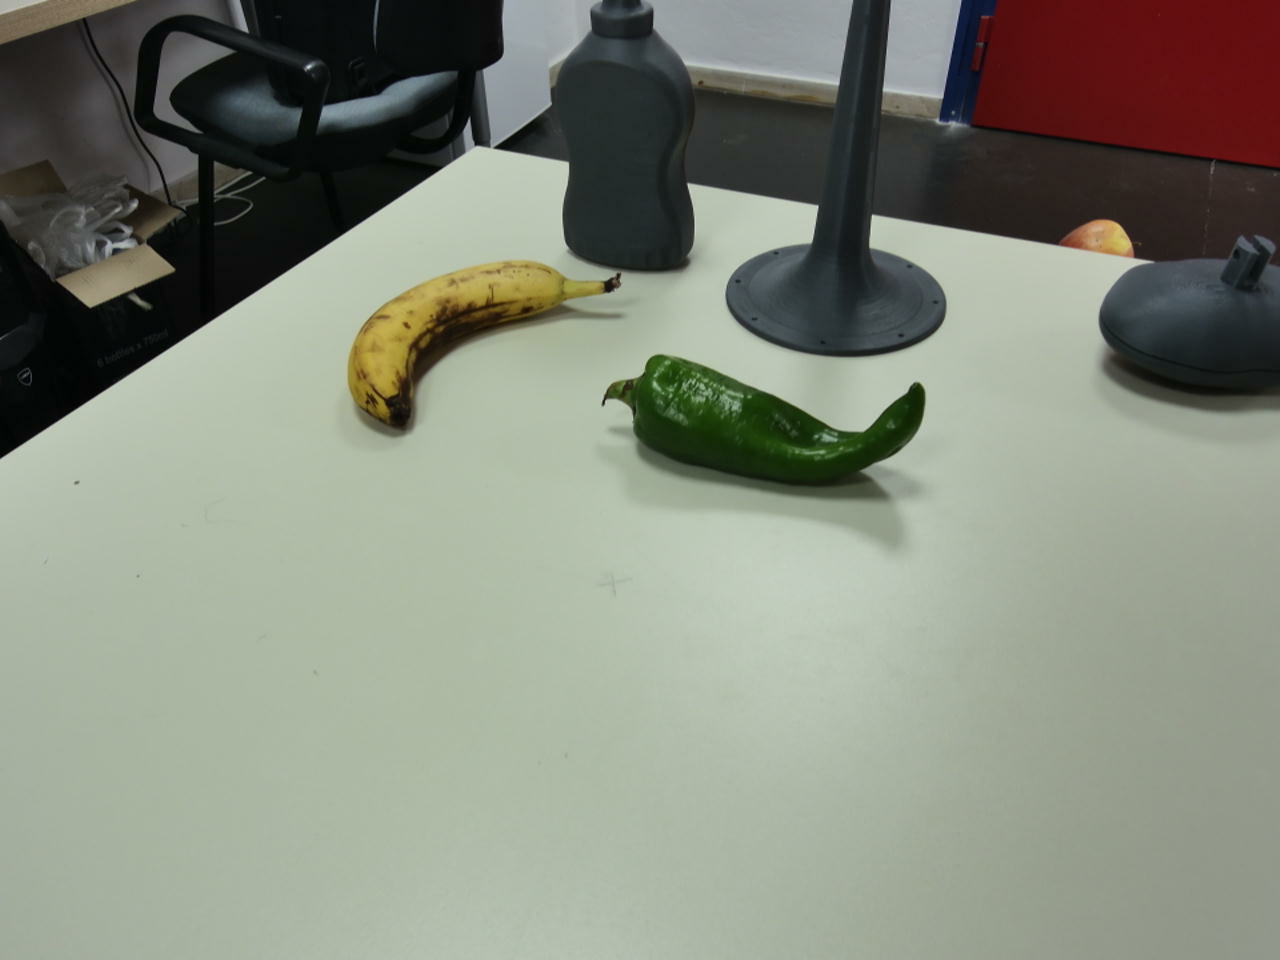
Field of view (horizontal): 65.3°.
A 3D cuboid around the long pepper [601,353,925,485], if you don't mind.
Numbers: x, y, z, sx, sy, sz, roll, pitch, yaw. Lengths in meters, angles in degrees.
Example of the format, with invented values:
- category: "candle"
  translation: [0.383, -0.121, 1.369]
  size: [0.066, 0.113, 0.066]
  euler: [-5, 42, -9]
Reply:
- category: "long pepper"
  translation: [0.059, -0.036, 0.533]
  size: [0.175, 0.065, 0.058]
  euler: [15, 41, 19]
